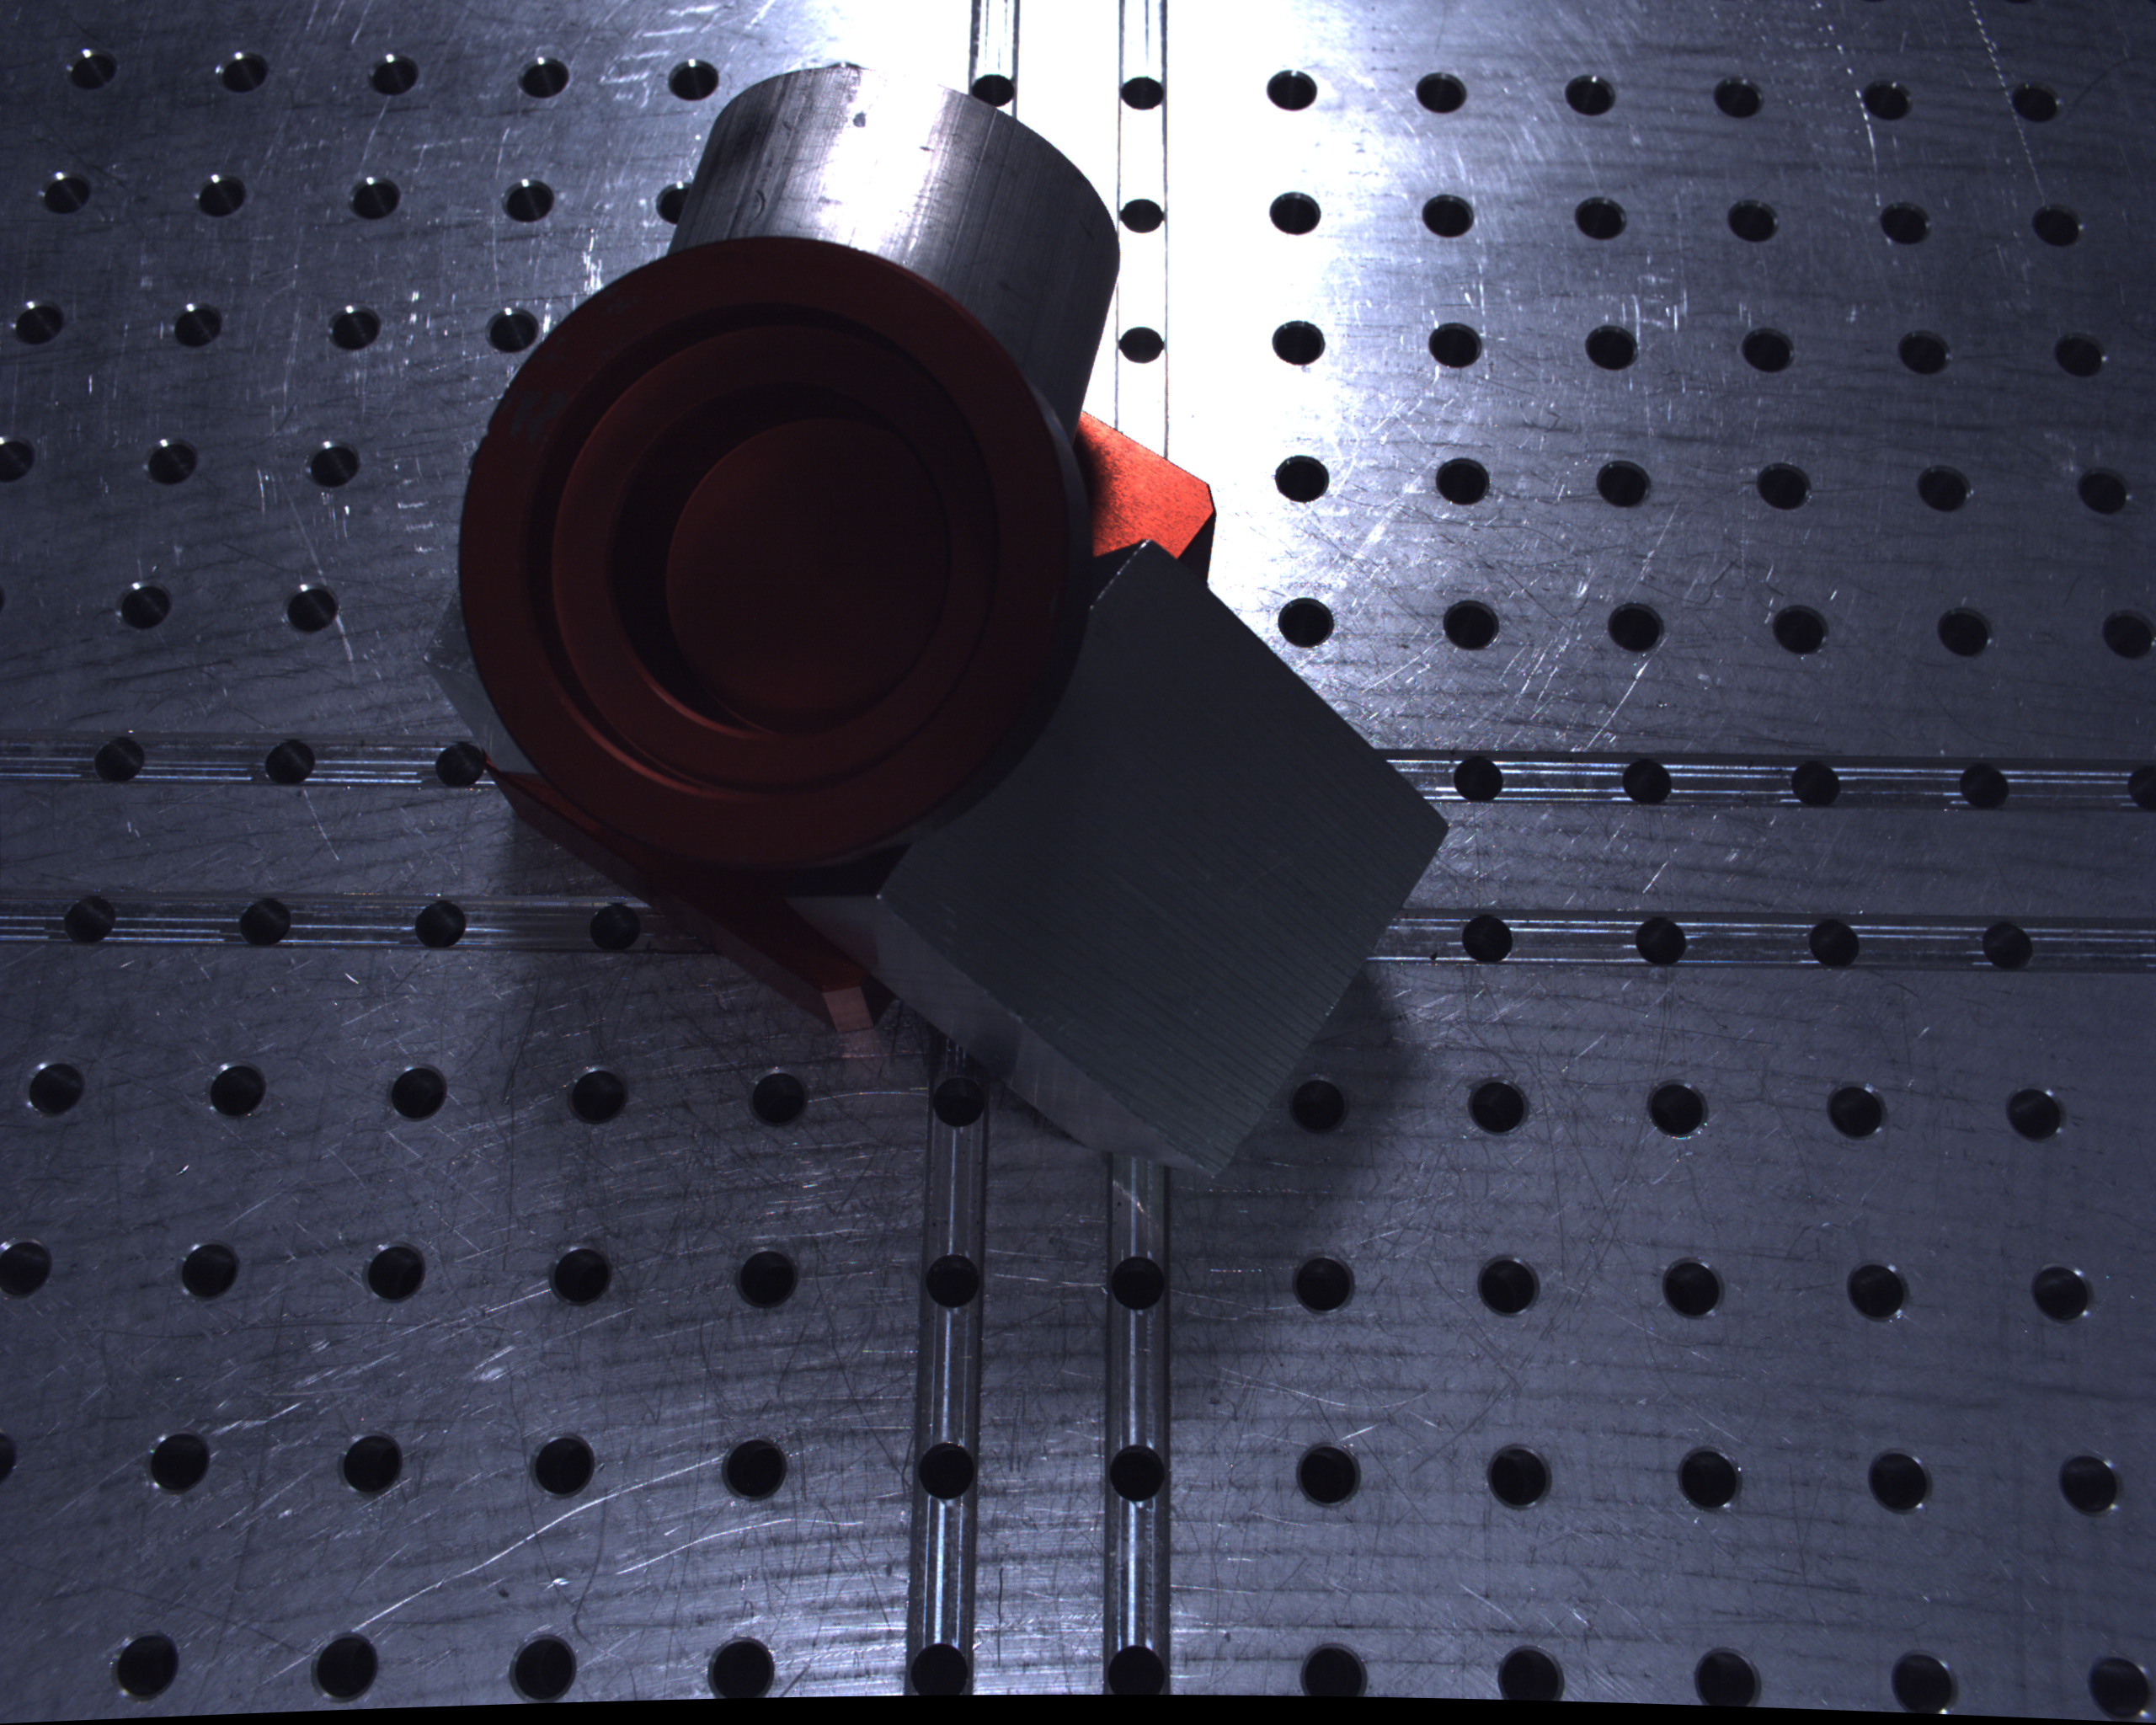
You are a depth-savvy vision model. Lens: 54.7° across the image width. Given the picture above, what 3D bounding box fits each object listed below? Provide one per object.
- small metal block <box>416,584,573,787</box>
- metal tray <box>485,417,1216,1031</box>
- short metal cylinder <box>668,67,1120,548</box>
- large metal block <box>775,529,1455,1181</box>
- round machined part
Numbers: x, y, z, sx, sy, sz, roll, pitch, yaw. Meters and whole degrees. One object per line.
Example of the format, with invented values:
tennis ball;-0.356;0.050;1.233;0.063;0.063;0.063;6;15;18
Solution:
small metal block;-0.091;-0.044;0.380;0.025;0.050;0.050;18;71;6
metal tray;-0.044;-0.043;0.425;0.090;0.030;0.130;33;73;11
short metal cylinder;-0.037;-0.099;0.386;0.080;0.080;0.050;13;71;4
large metal block;0.007;-0.001;0.379;0.080;0.050;0.080;42;72;-19
round machined part;-0.046;-0.048;0.340;0.098;0.042;0.097;0;90;11
